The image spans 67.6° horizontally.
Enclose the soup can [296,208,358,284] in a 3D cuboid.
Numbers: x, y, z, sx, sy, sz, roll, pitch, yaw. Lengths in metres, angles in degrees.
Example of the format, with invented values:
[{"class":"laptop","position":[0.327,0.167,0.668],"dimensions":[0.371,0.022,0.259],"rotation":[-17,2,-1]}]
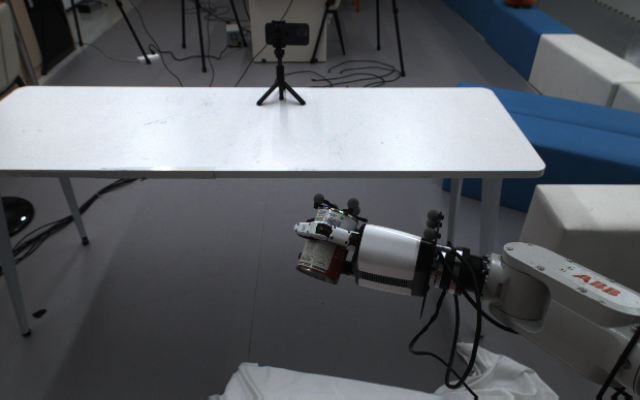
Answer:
[{"class":"soup can","position":[0.013,0.070,0.738],"dimensions":[0.067,0.067,0.101],"rotation":[16,75,19]}]
